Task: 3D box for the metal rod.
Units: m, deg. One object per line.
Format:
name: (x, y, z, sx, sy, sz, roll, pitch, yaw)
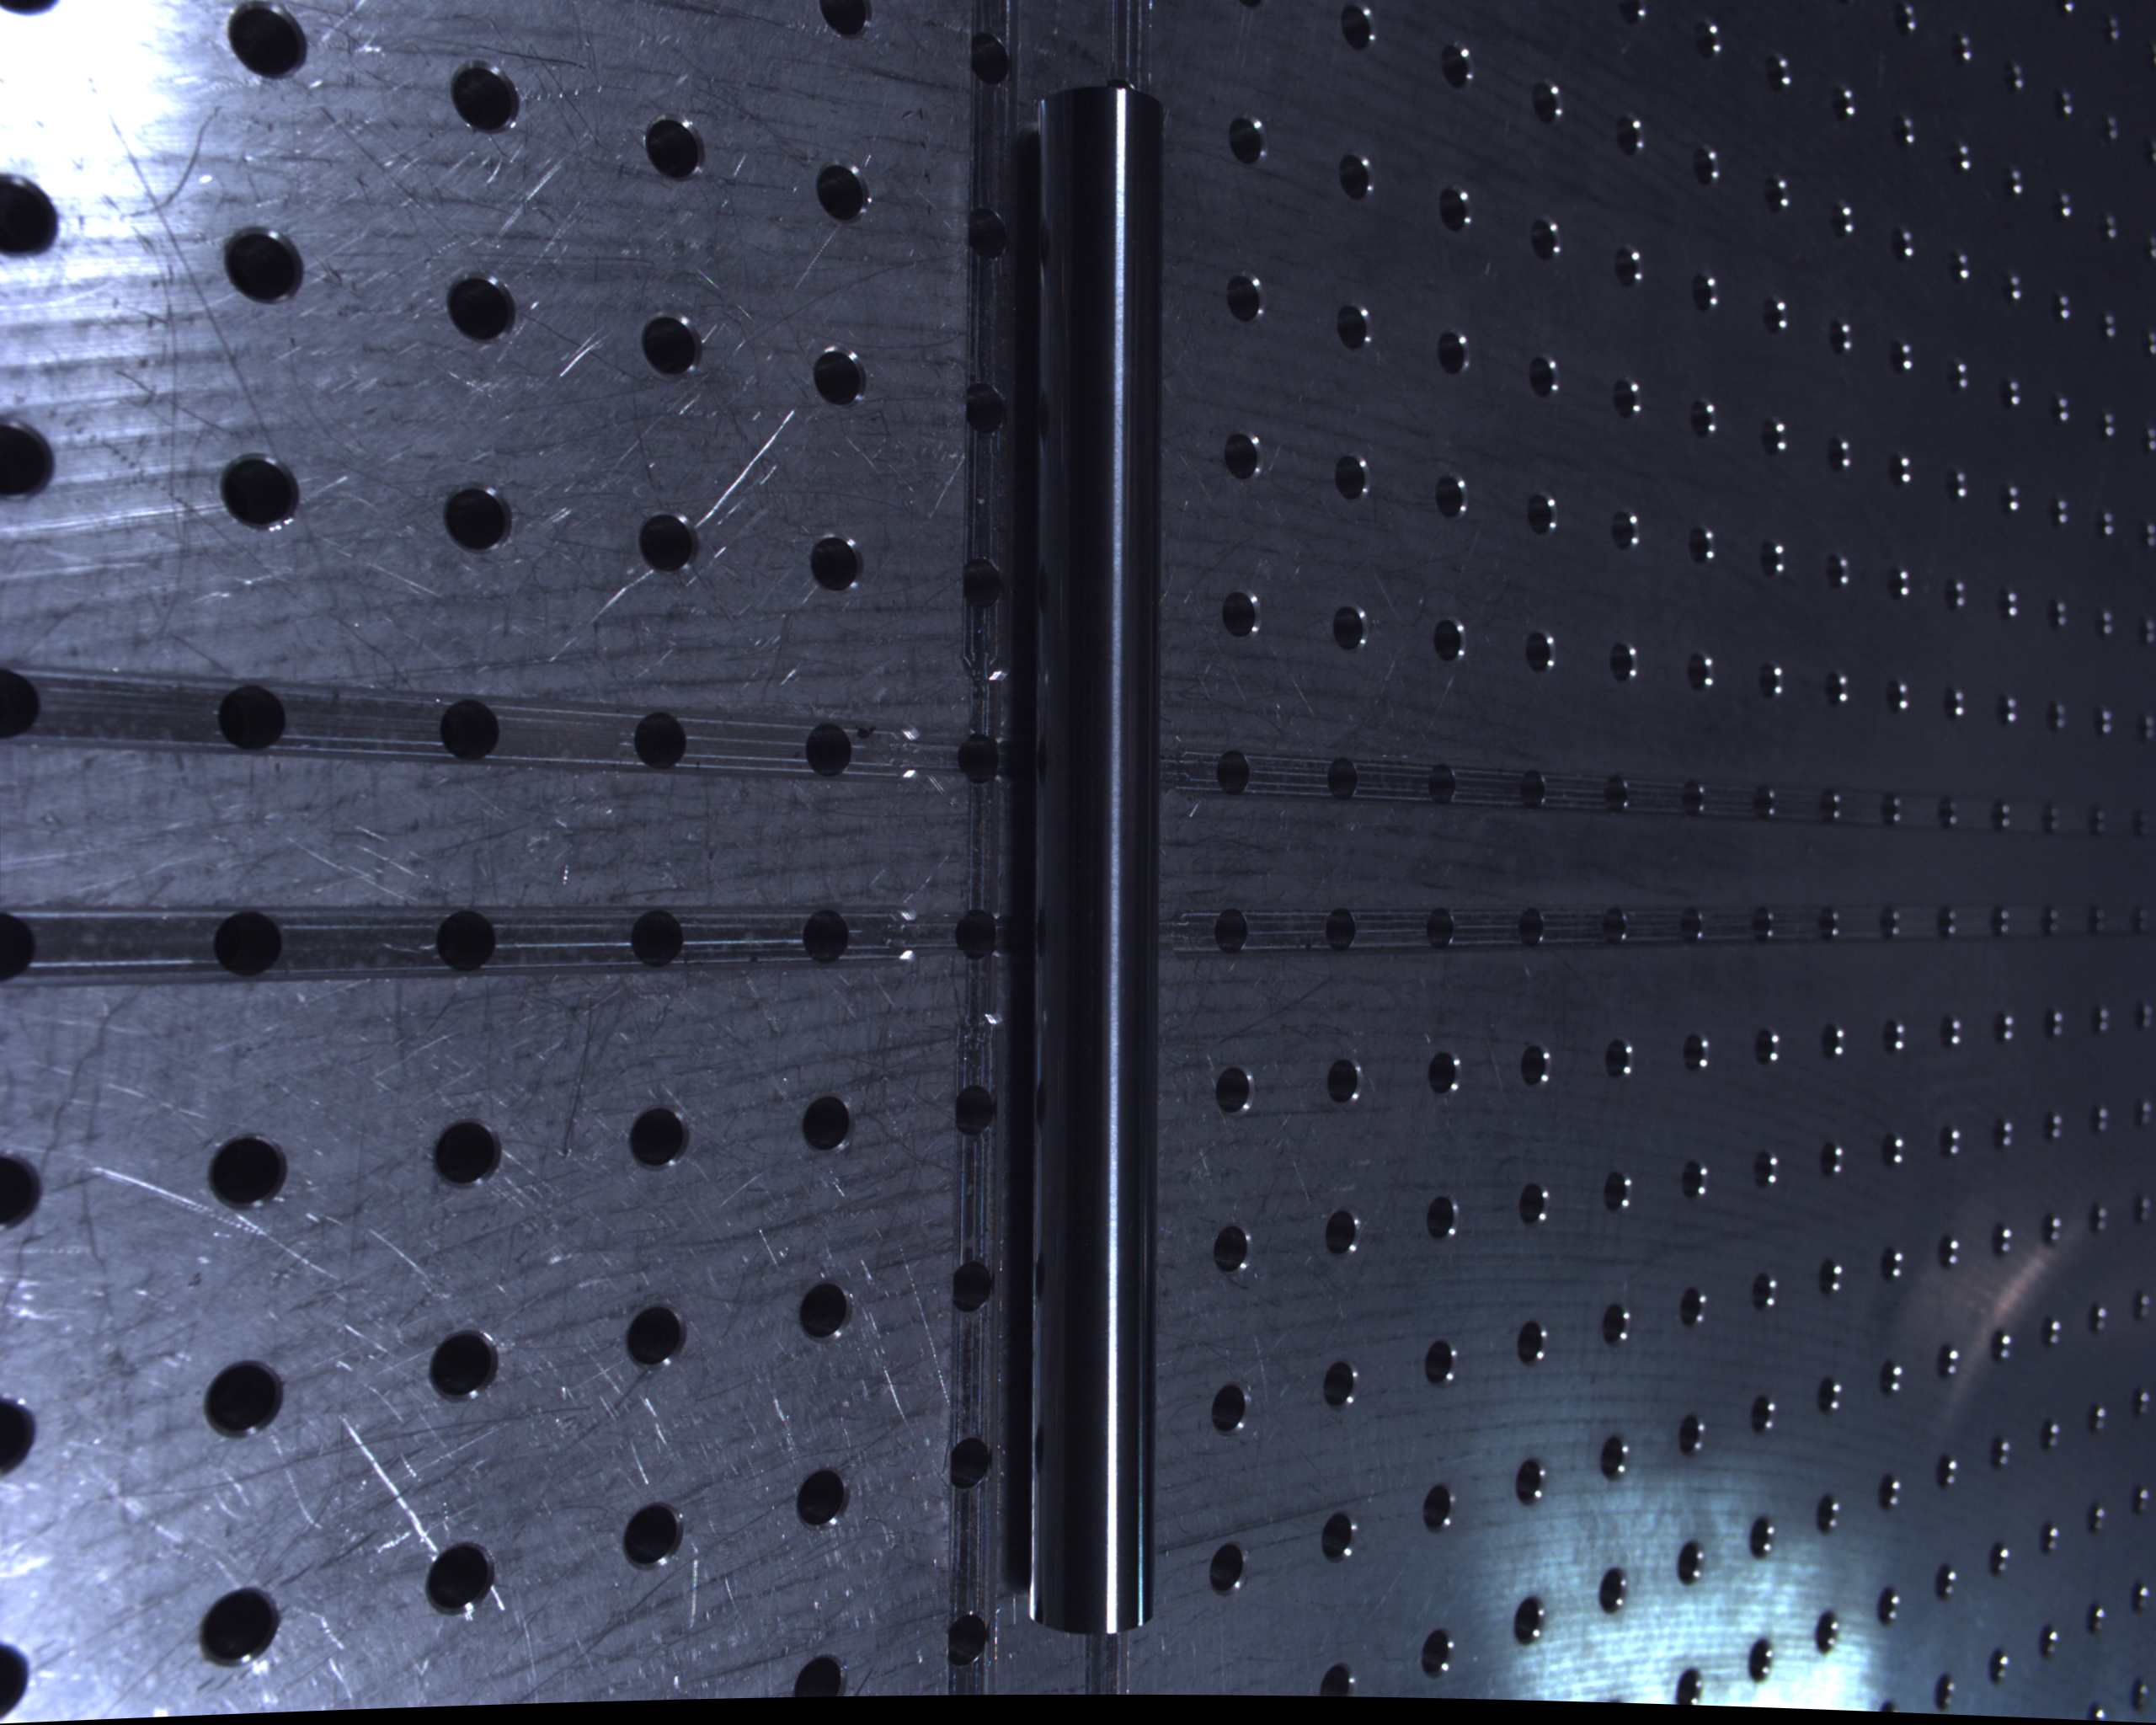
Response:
metal rod: (0.004, -0.001, 0.414, 0.025, 0.025, 0.298, 1, 90, -40)
